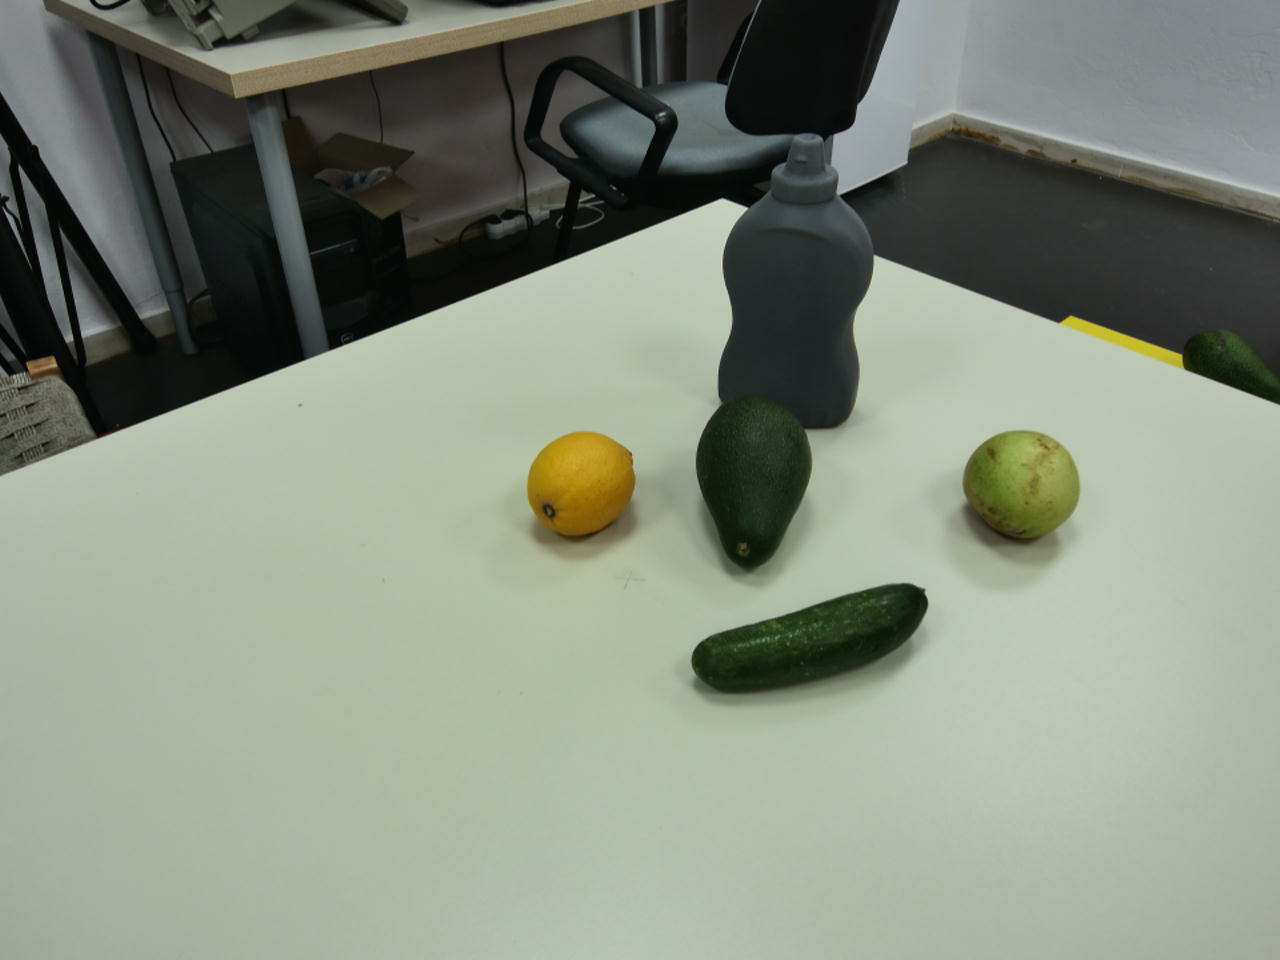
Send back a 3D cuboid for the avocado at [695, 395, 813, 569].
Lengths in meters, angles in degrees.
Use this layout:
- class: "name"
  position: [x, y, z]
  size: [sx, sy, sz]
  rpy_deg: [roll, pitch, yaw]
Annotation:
- class: "avocado"
  position: [0.064, -0.004, 0.600]
  size: [0.073, 0.071, 0.109]
  rpy_deg: [16, 40, 21]
